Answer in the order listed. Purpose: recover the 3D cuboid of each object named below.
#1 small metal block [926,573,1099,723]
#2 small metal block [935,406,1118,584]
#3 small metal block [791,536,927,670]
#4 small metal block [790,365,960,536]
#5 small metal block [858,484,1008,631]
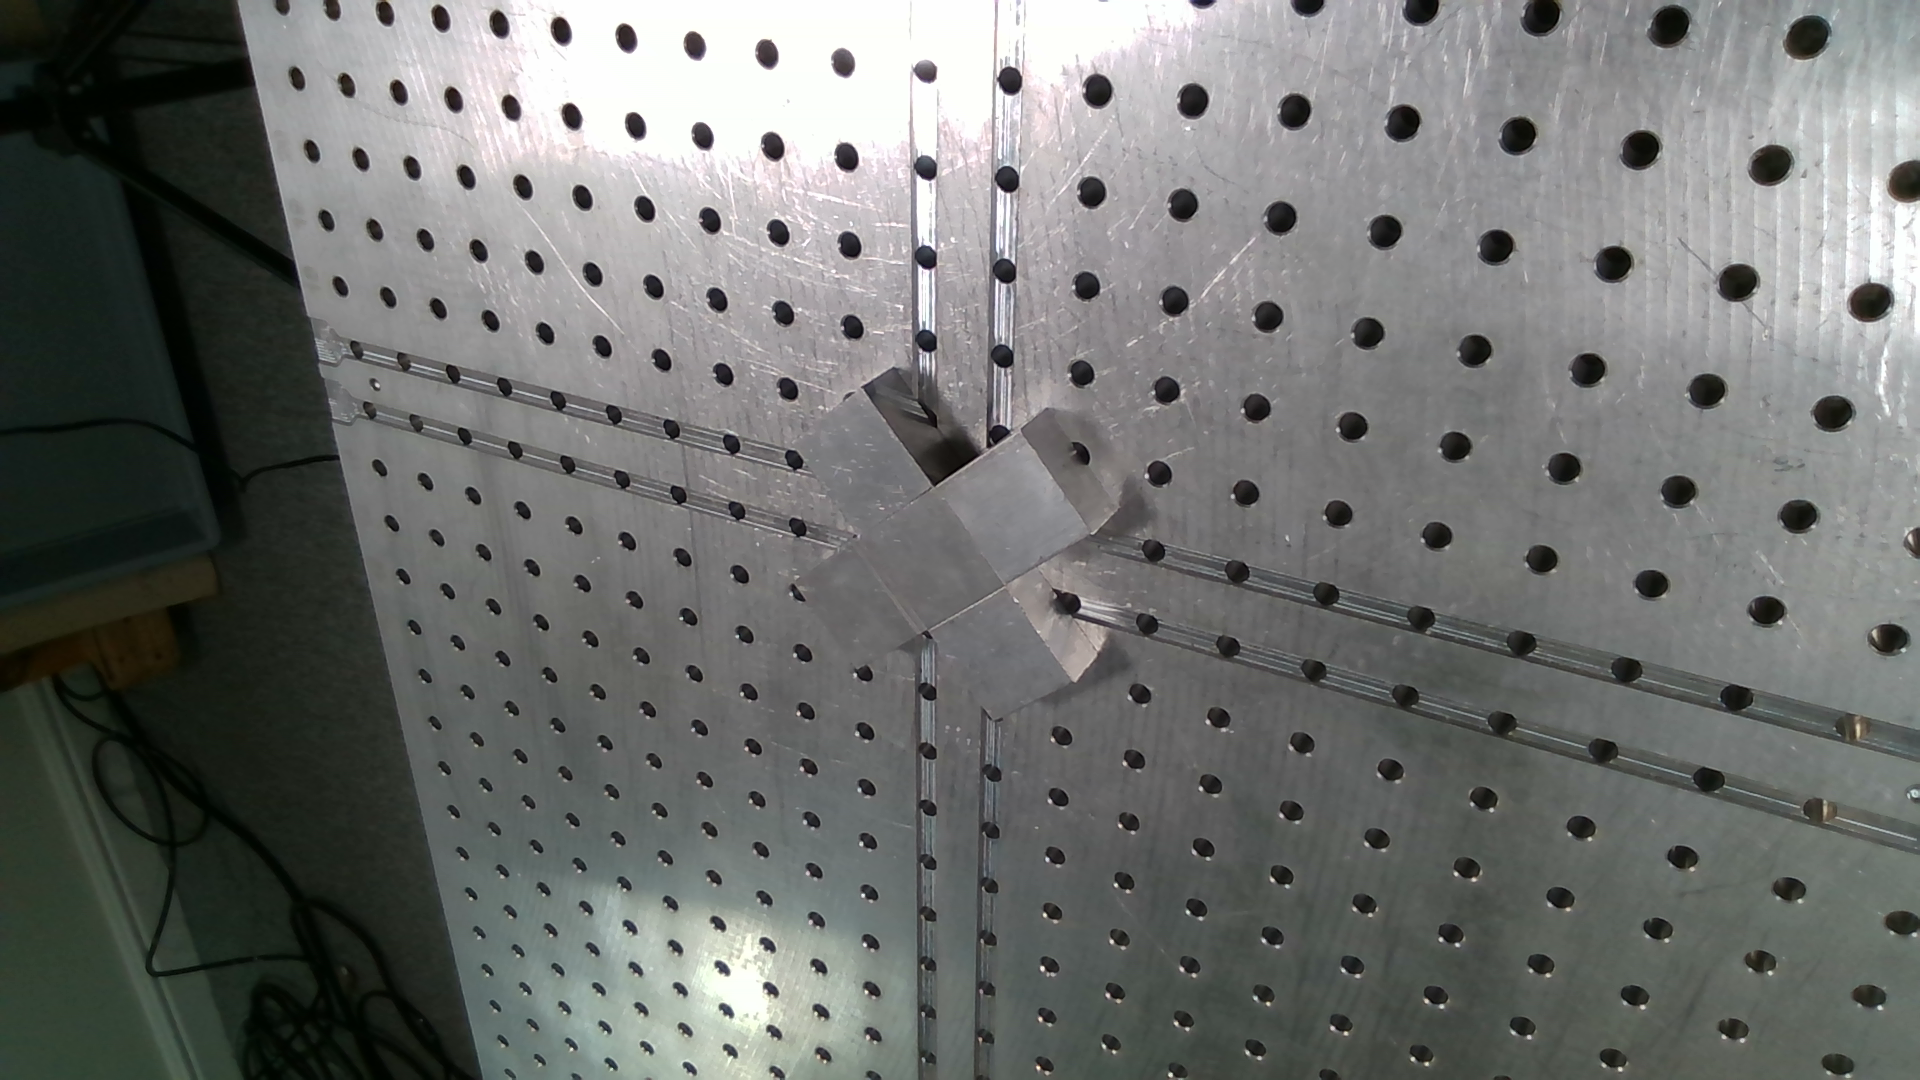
[{"bbox_3d":[0.022,0.044,0.593,0.050,0.025,0.050,-32,96,39],"label":"small metal block"},{"bbox_3d":[0.027,-0.018,0.557,0.050,0.025,0.050,-32,96,39],"label":"small metal block"},{"bbox_3d":[-0.040,0.024,0.620,0.050,0.025,0.050,-32,96,39],"label":"small metal block"},{"bbox_3d":[-0.036,-0.037,0.584,0.050,0.025,0.050,-32,96,39],"label":"small metal block"},{"bbox_3d":[-0.007,0.003,0.588,0.050,0.025,0.050,-32,96,39],"label":"small metal block"}]
